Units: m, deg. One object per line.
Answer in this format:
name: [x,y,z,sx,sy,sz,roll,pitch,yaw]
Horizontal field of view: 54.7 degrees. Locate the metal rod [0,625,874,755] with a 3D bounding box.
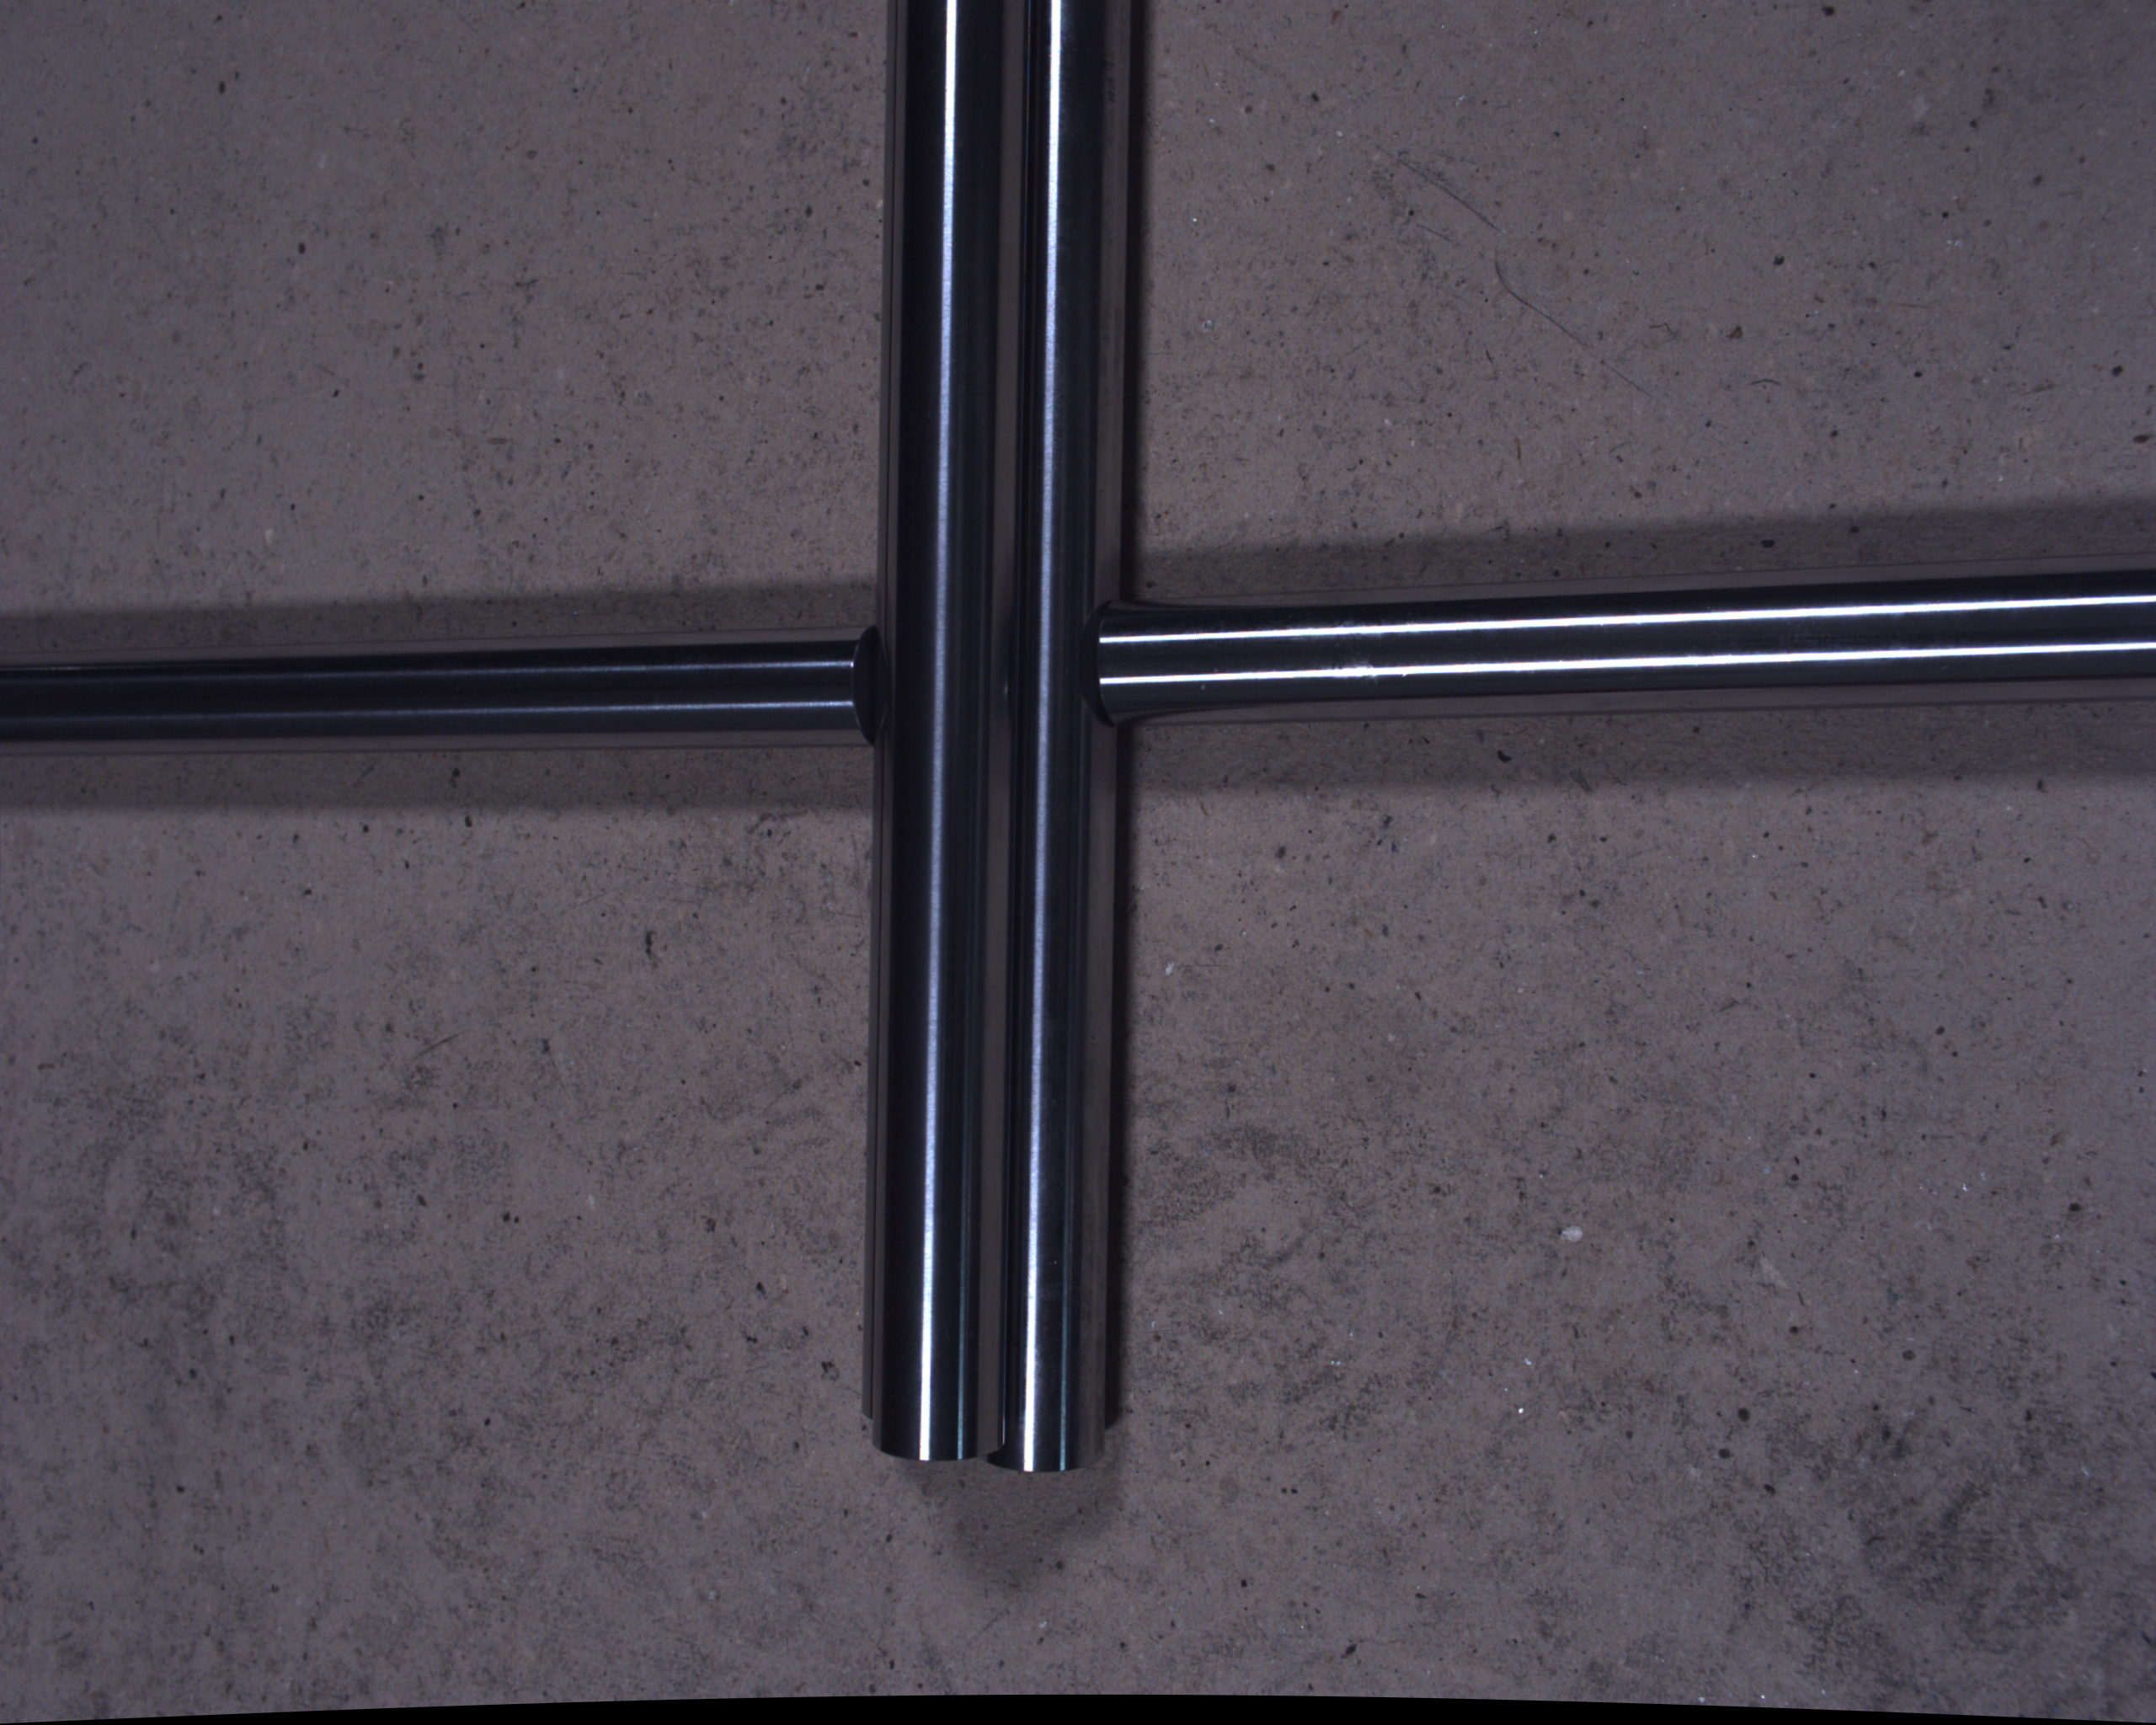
metal rod: [-0.182,-0.037,0.472,0.301,0.025,0.025,1,90,19]

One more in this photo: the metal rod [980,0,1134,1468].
metal rod: [-0.004,-0.033,0.412,0.025,0.025,0.298,1,90,19]

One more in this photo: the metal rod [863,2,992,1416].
metal rod: [-0.028,-0.039,0.420,0.025,0.025,0.298,1,90,19]

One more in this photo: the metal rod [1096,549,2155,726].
metal rod: [0.150,-0.040,0.357,0.301,0.025,0.025,0,90,19]

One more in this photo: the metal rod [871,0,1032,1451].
metal rod: [-0.024,-0.041,0.396,0.025,0.025,0.298,1,90,19]
